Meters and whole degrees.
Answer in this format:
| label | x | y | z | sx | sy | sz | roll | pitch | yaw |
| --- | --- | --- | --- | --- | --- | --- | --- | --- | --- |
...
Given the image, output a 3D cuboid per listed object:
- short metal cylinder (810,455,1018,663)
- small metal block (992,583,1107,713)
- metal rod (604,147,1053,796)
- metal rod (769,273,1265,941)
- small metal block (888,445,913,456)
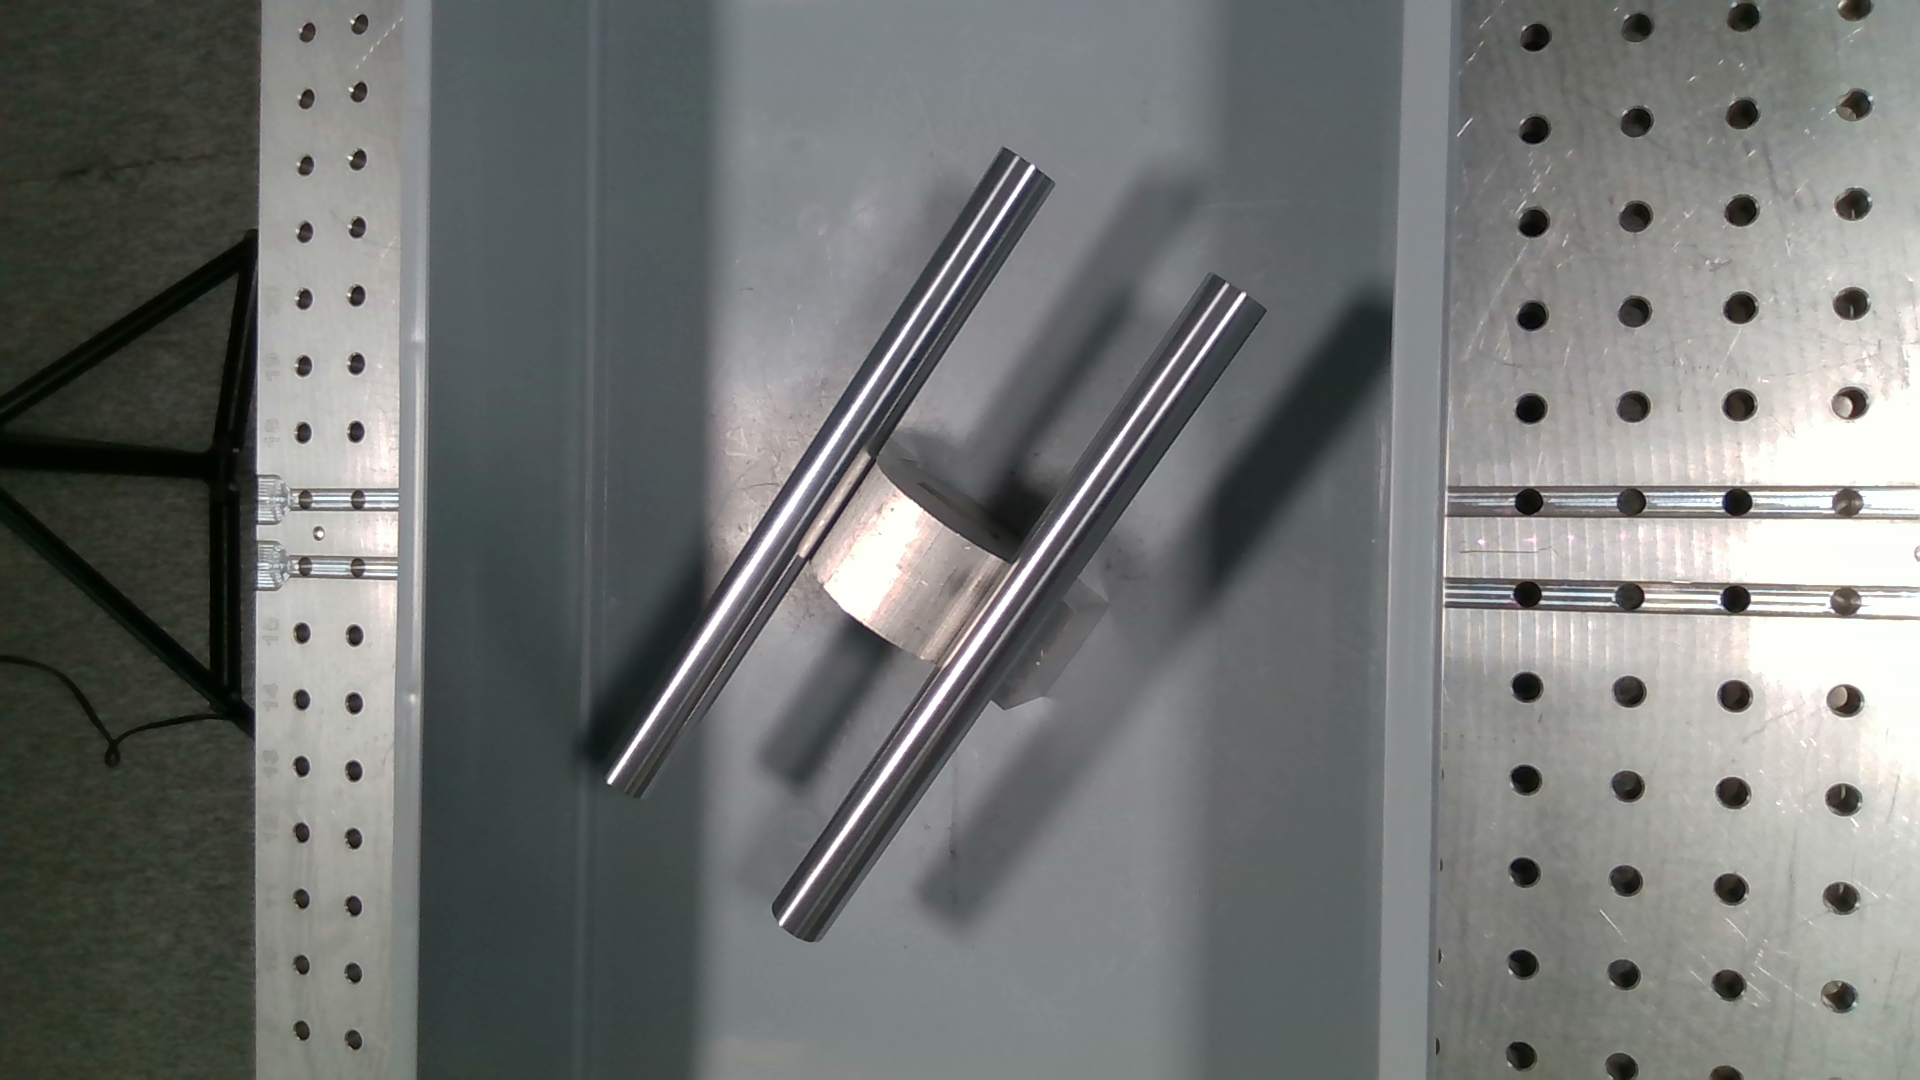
| label | x | y | z | sx | sy | sz | roll | pitch | yaw |
| --- | --- | --- | --- | --- | --- | --- | --- | --- | --- |
| short metal cylinder | -0.014 | 0.009 | 0.561 | 0.080 | 0.080 | 0.050 | 38 | 103 | 16 |
| small metal block | 0.030 | 0.040 | 0.560 | 0.025 | 0.050 | 0.050 | 39 | 103 | 16 |
| metal rod | -0.057 | -0.021 | 0.553 | 0.025 | 0.025 | 0.300 | 38 | 102 | 16 |
| metal rod | 0.016 | 0.032 | 0.526 | 0.025 | 0.025 | 0.300 | 38 | 103 | 16 |
| small metal block | -0.050 | -0.022 | 0.589 | 0.025 | 0.050 | 0.050 | 39 | 103 | 16 |
